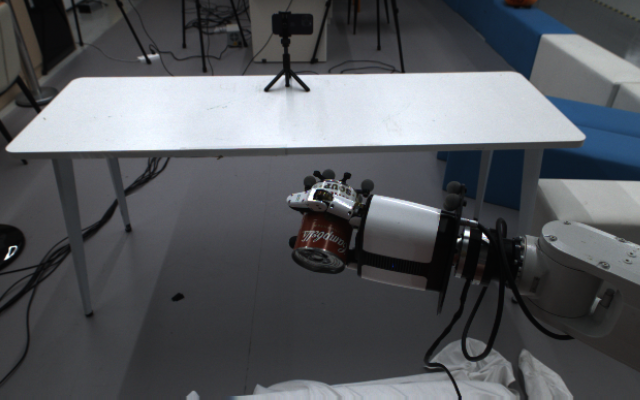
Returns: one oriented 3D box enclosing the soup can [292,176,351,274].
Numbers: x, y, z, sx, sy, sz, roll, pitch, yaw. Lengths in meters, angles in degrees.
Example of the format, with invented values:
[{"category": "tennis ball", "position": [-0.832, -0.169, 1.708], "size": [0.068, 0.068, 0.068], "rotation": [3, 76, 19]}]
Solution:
[{"category": "soup can", "position": [0.010, 0.033, 0.610], "size": [0.067, 0.067, 0.101], "rotation": [9, 58, 10]}]
